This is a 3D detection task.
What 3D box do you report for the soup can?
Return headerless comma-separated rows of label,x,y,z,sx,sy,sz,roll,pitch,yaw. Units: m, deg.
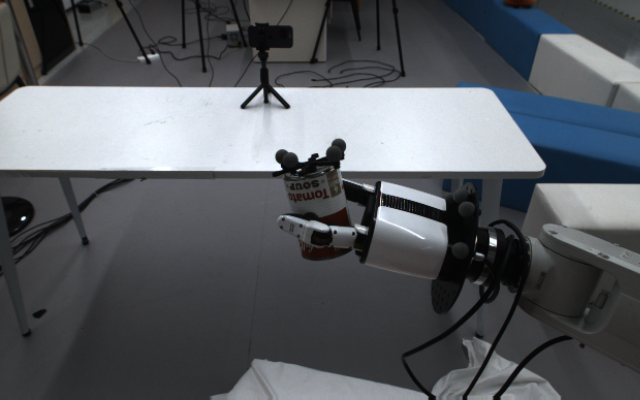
soup can,0.002,0.011,0.569,0.067,0.101,0.067,-12,17,4
